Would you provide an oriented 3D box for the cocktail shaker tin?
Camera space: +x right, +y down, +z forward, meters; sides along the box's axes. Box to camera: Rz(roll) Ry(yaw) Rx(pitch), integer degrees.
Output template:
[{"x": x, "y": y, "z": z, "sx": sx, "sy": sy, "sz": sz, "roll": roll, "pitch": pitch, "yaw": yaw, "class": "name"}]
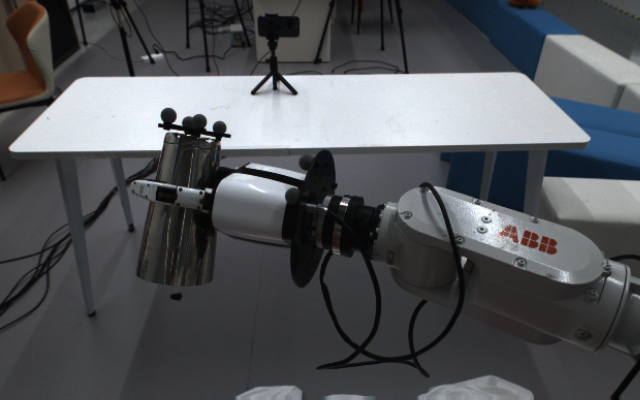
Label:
[{"x": -0.163, "y": 0.010, "z": 0.586, "sx": 0.093, "sy": 0.170, "sz": 0.093, "roll": 8, "pitch": 3, "yaw": 0, "class": "cocktail shaker tin"}]
